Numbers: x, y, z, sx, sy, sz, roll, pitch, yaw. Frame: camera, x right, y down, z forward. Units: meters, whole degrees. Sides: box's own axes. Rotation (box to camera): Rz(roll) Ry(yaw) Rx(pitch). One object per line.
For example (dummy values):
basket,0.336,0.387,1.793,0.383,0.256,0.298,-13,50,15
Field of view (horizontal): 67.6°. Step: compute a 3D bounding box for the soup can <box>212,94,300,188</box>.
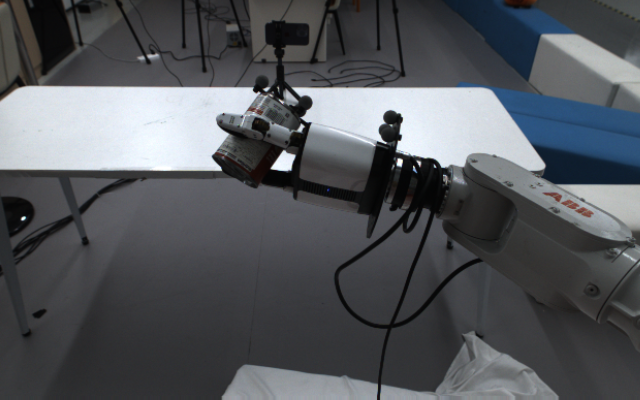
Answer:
soup can,-0.078,-0.075,0.610,0.067,0.067,0.101,26,75,31
